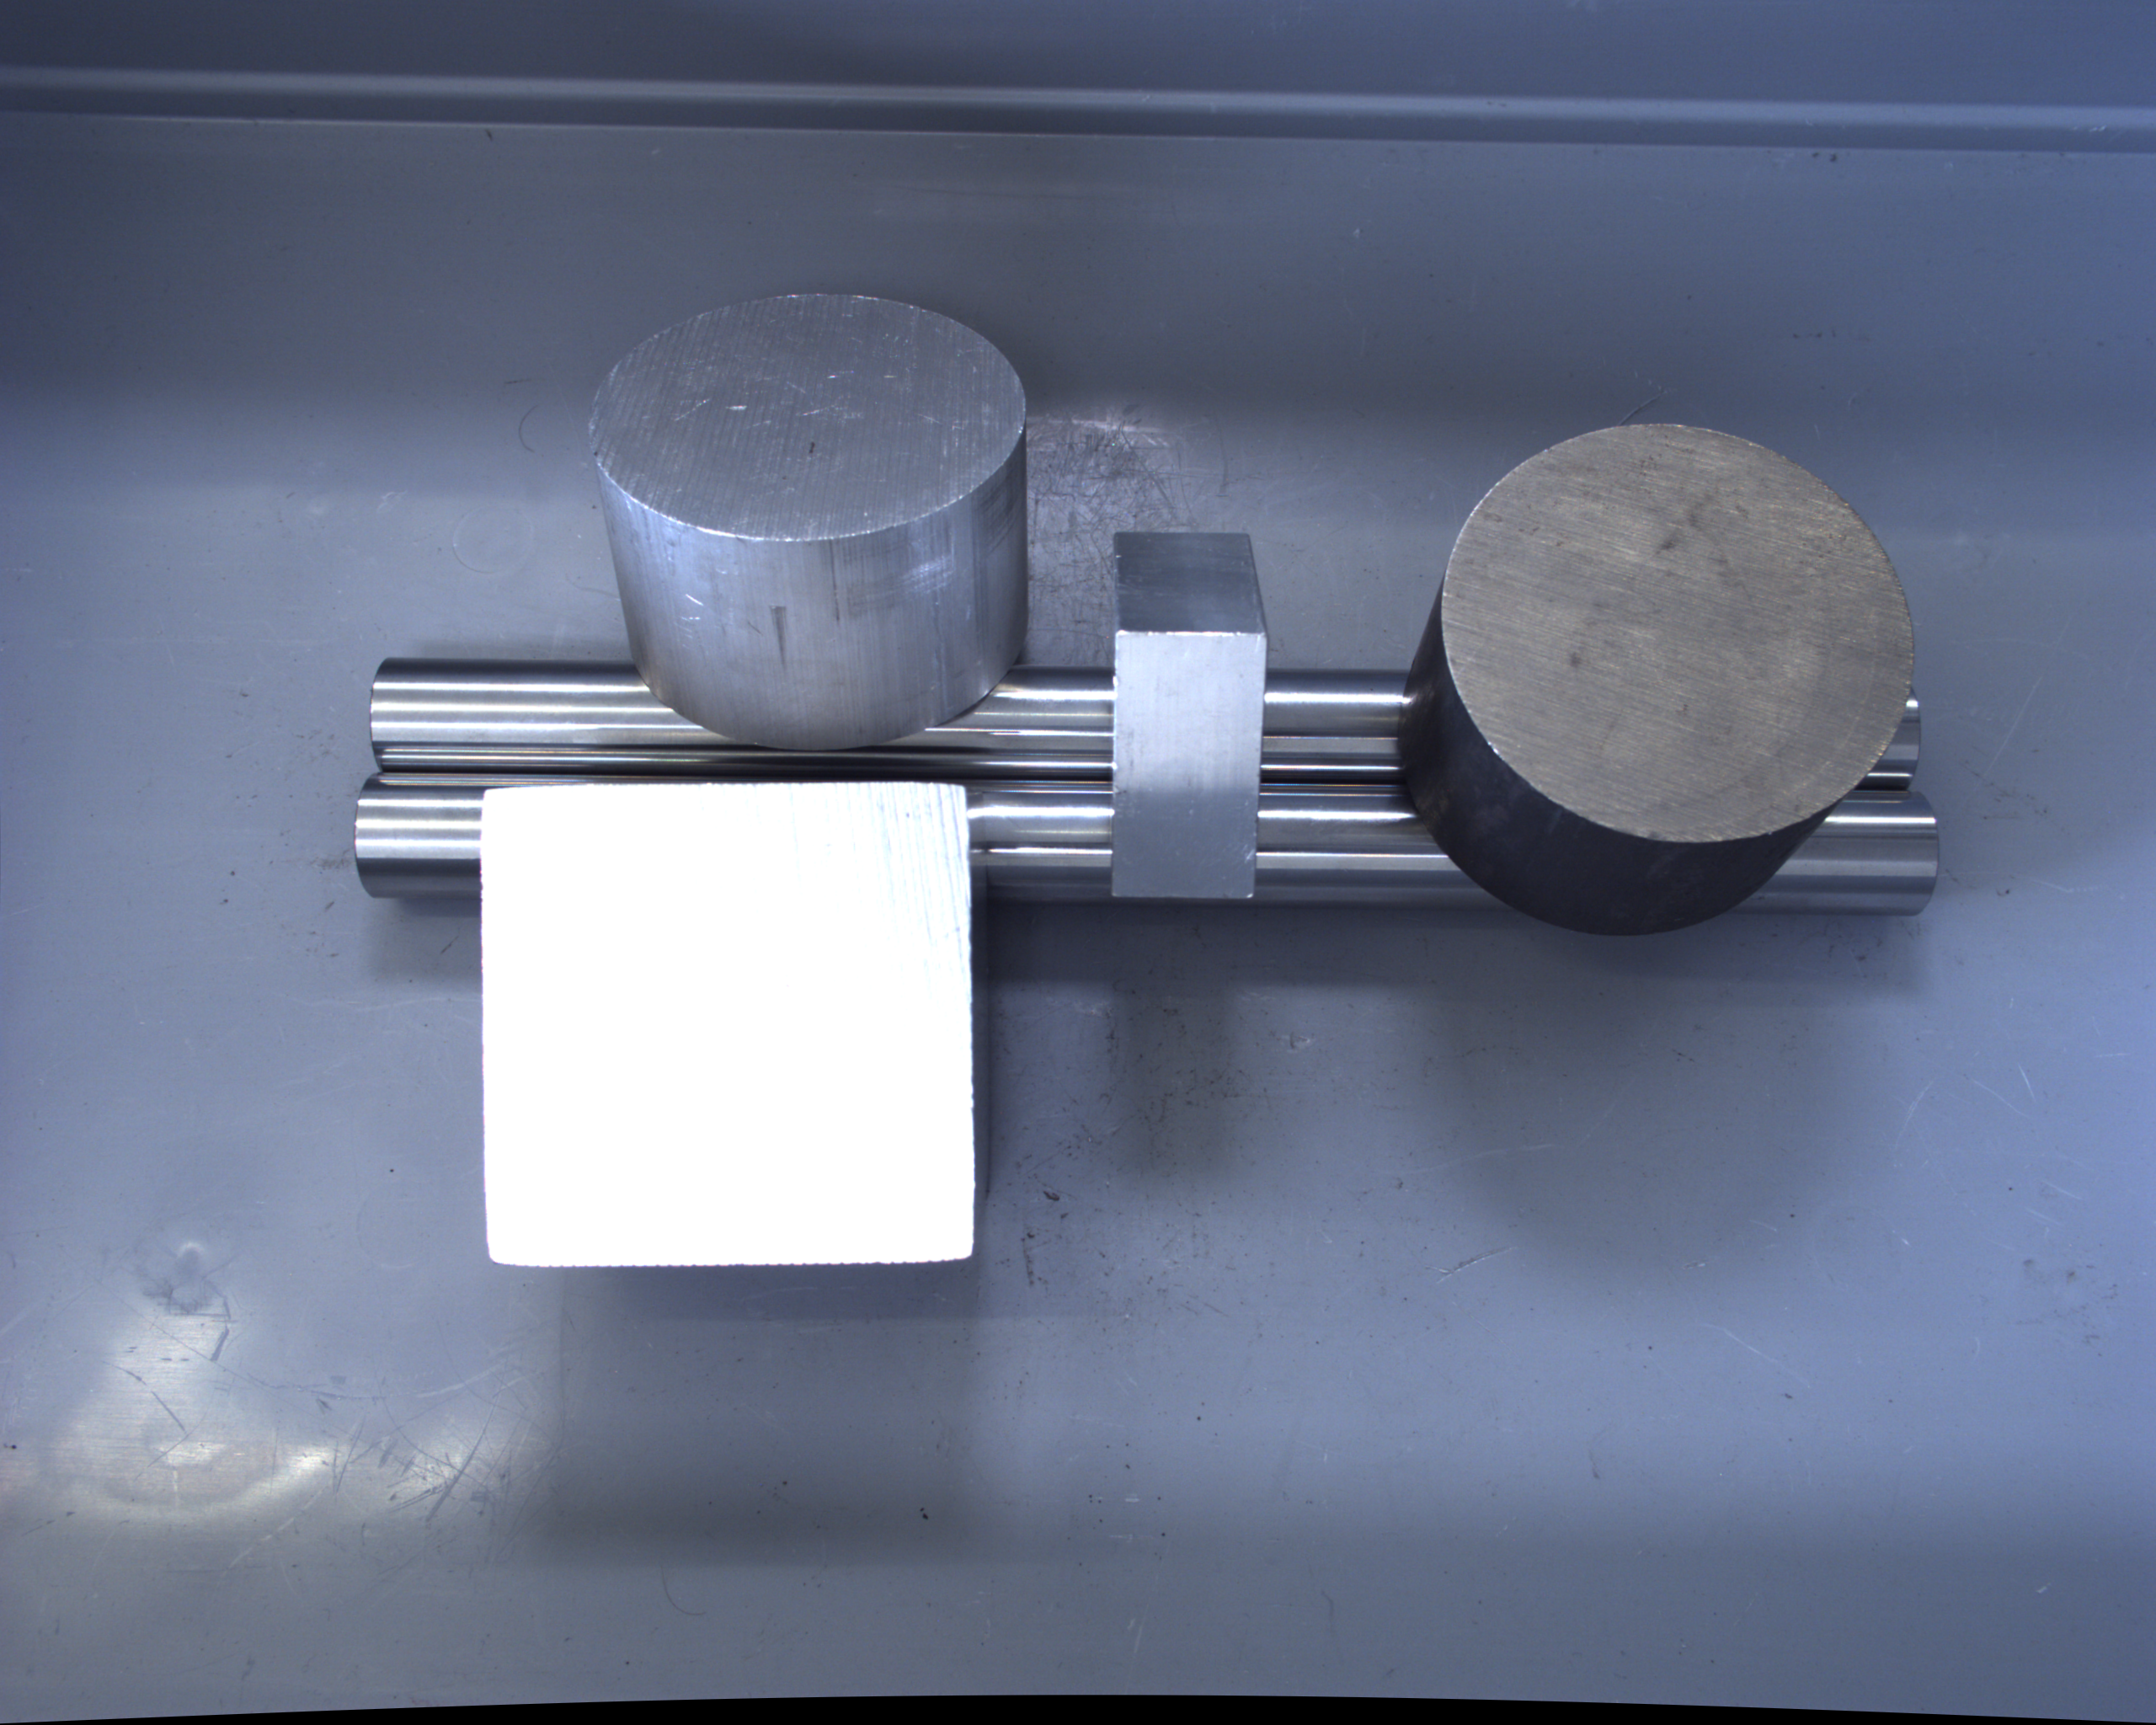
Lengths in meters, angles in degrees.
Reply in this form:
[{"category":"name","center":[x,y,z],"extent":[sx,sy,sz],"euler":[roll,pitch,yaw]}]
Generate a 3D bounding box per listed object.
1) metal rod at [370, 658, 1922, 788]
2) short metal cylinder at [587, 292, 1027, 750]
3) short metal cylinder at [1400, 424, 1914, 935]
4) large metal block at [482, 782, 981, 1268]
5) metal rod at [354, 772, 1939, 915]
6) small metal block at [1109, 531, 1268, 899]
[{"category":"metal rod","center":[0.013,-0.027,0.418],"extent":[0.302,0.025,0.025],"euler":[1,70,0]},{"category":"short metal cylinder","center":[-0.050,-0.067,0.404],"extent":[0.081,0.050,0.080],"euler":[1,46,0]},{"category":"short metal cylinder","center":[0.103,-0.032,0.381],"extent":[0.081,0.050,0.080],"euler":[0,70,0]},{"category":"large metal block","center":[-0.058,0.027,0.370],"extent":[0.081,0.050,0.079],"euler":[-1,90,-1]},{"category":"metal rod","center":[0.013,-0.004,0.410],"extent":[0.302,0.025,0.025],"euler":[1,70,0]},{"category":"small metal block","center":[0.018,-0.027,0.375],"extent":[0.025,0.050,0.050],"euler":[1,28,0]}]
